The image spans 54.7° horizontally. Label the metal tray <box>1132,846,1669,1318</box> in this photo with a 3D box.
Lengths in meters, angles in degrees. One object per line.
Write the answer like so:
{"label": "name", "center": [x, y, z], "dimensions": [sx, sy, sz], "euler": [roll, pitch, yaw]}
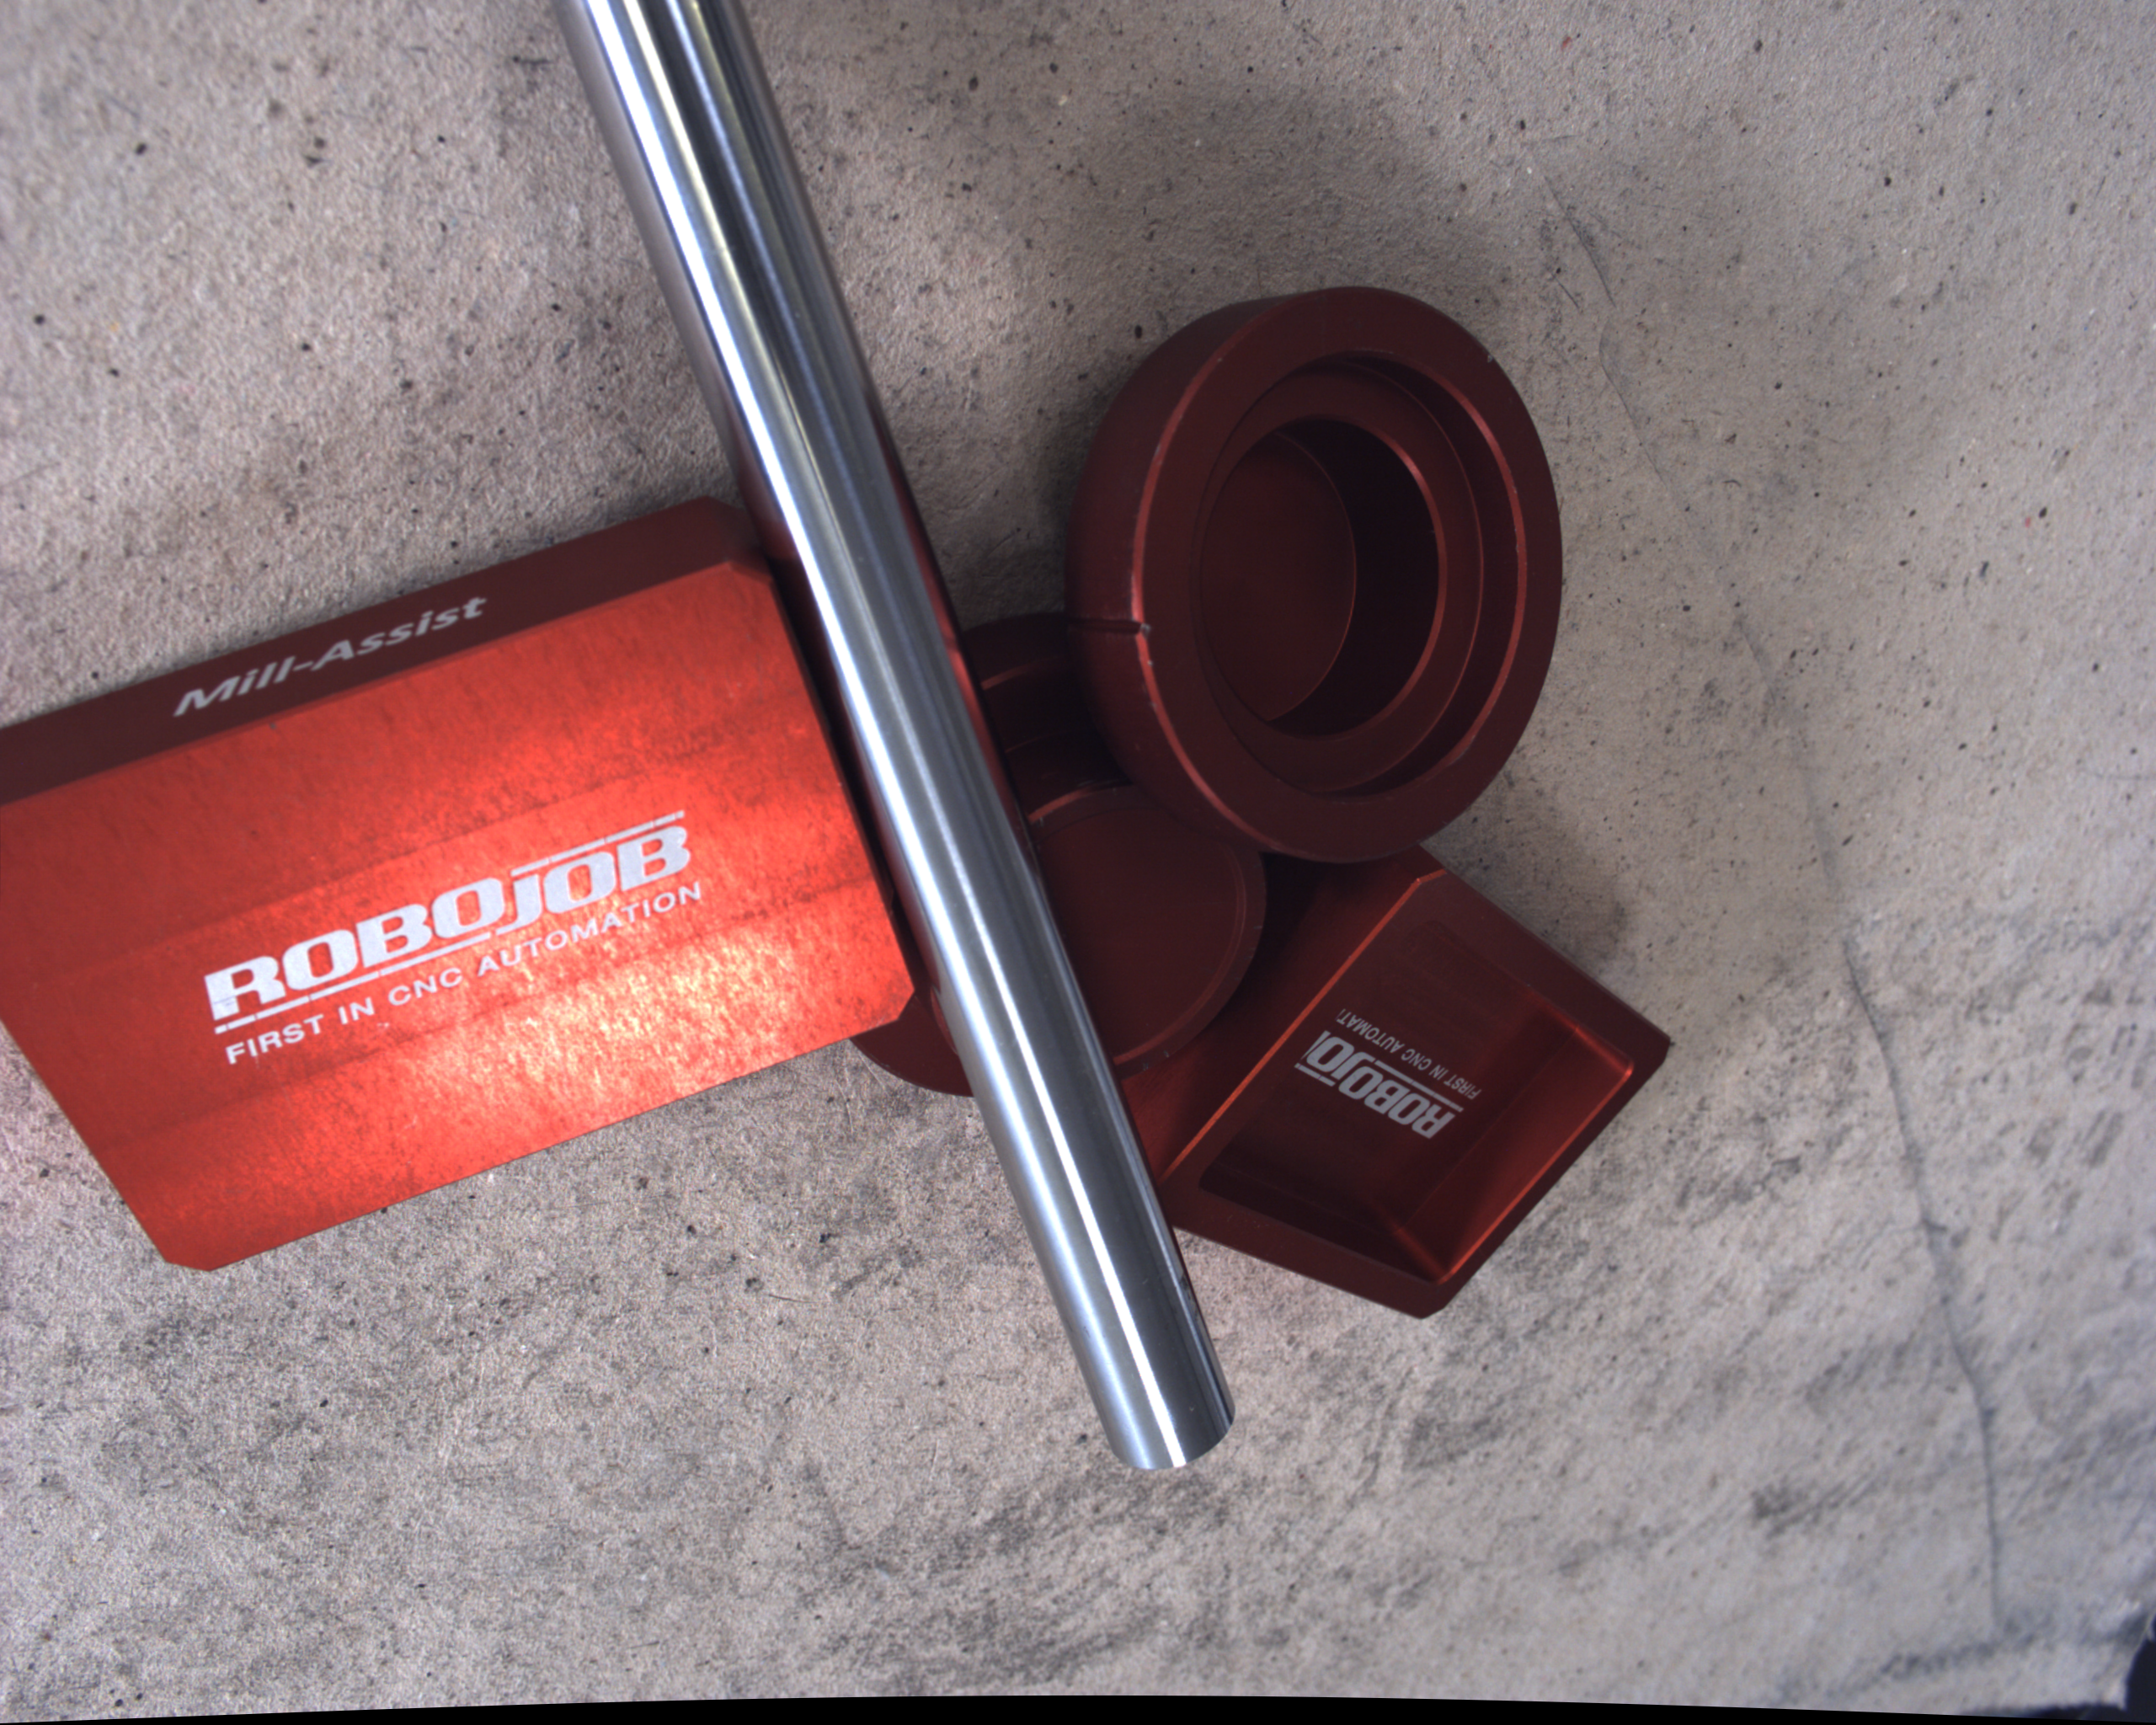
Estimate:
{"label": "metal tray", "center": [0.068, 0.047, 0.457], "dimensions": [0.090, 0.030, 0.130], "euler": [-51, 139, 8]}

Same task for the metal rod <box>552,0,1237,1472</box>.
{"label": "metal rod", "center": [-0.026, -0.022, 0.337], "dimensions": [0.025, 0.025, 0.298], "euler": [-25, 114, -13]}

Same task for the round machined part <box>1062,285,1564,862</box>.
{"label": "round machined part", "center": [0.037, -0.051, 0.373], "dimensions": [0.099, 0.042, 0.097], "euler": [-6, 100, -34]}

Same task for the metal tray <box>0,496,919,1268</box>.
{"label": "metal tray", "center": [-0.101, 0.004, 0.338], "dimensions": [0.131, 0.030, 0.090], "euler": [-20, 124, -6]}

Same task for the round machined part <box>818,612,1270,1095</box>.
{"label": "round machined part", "center": [-0.004, 0.005, 0.399], "dimensions": [0.099, 0.042, 0.097], "euler": [-14, 124, -21]}
